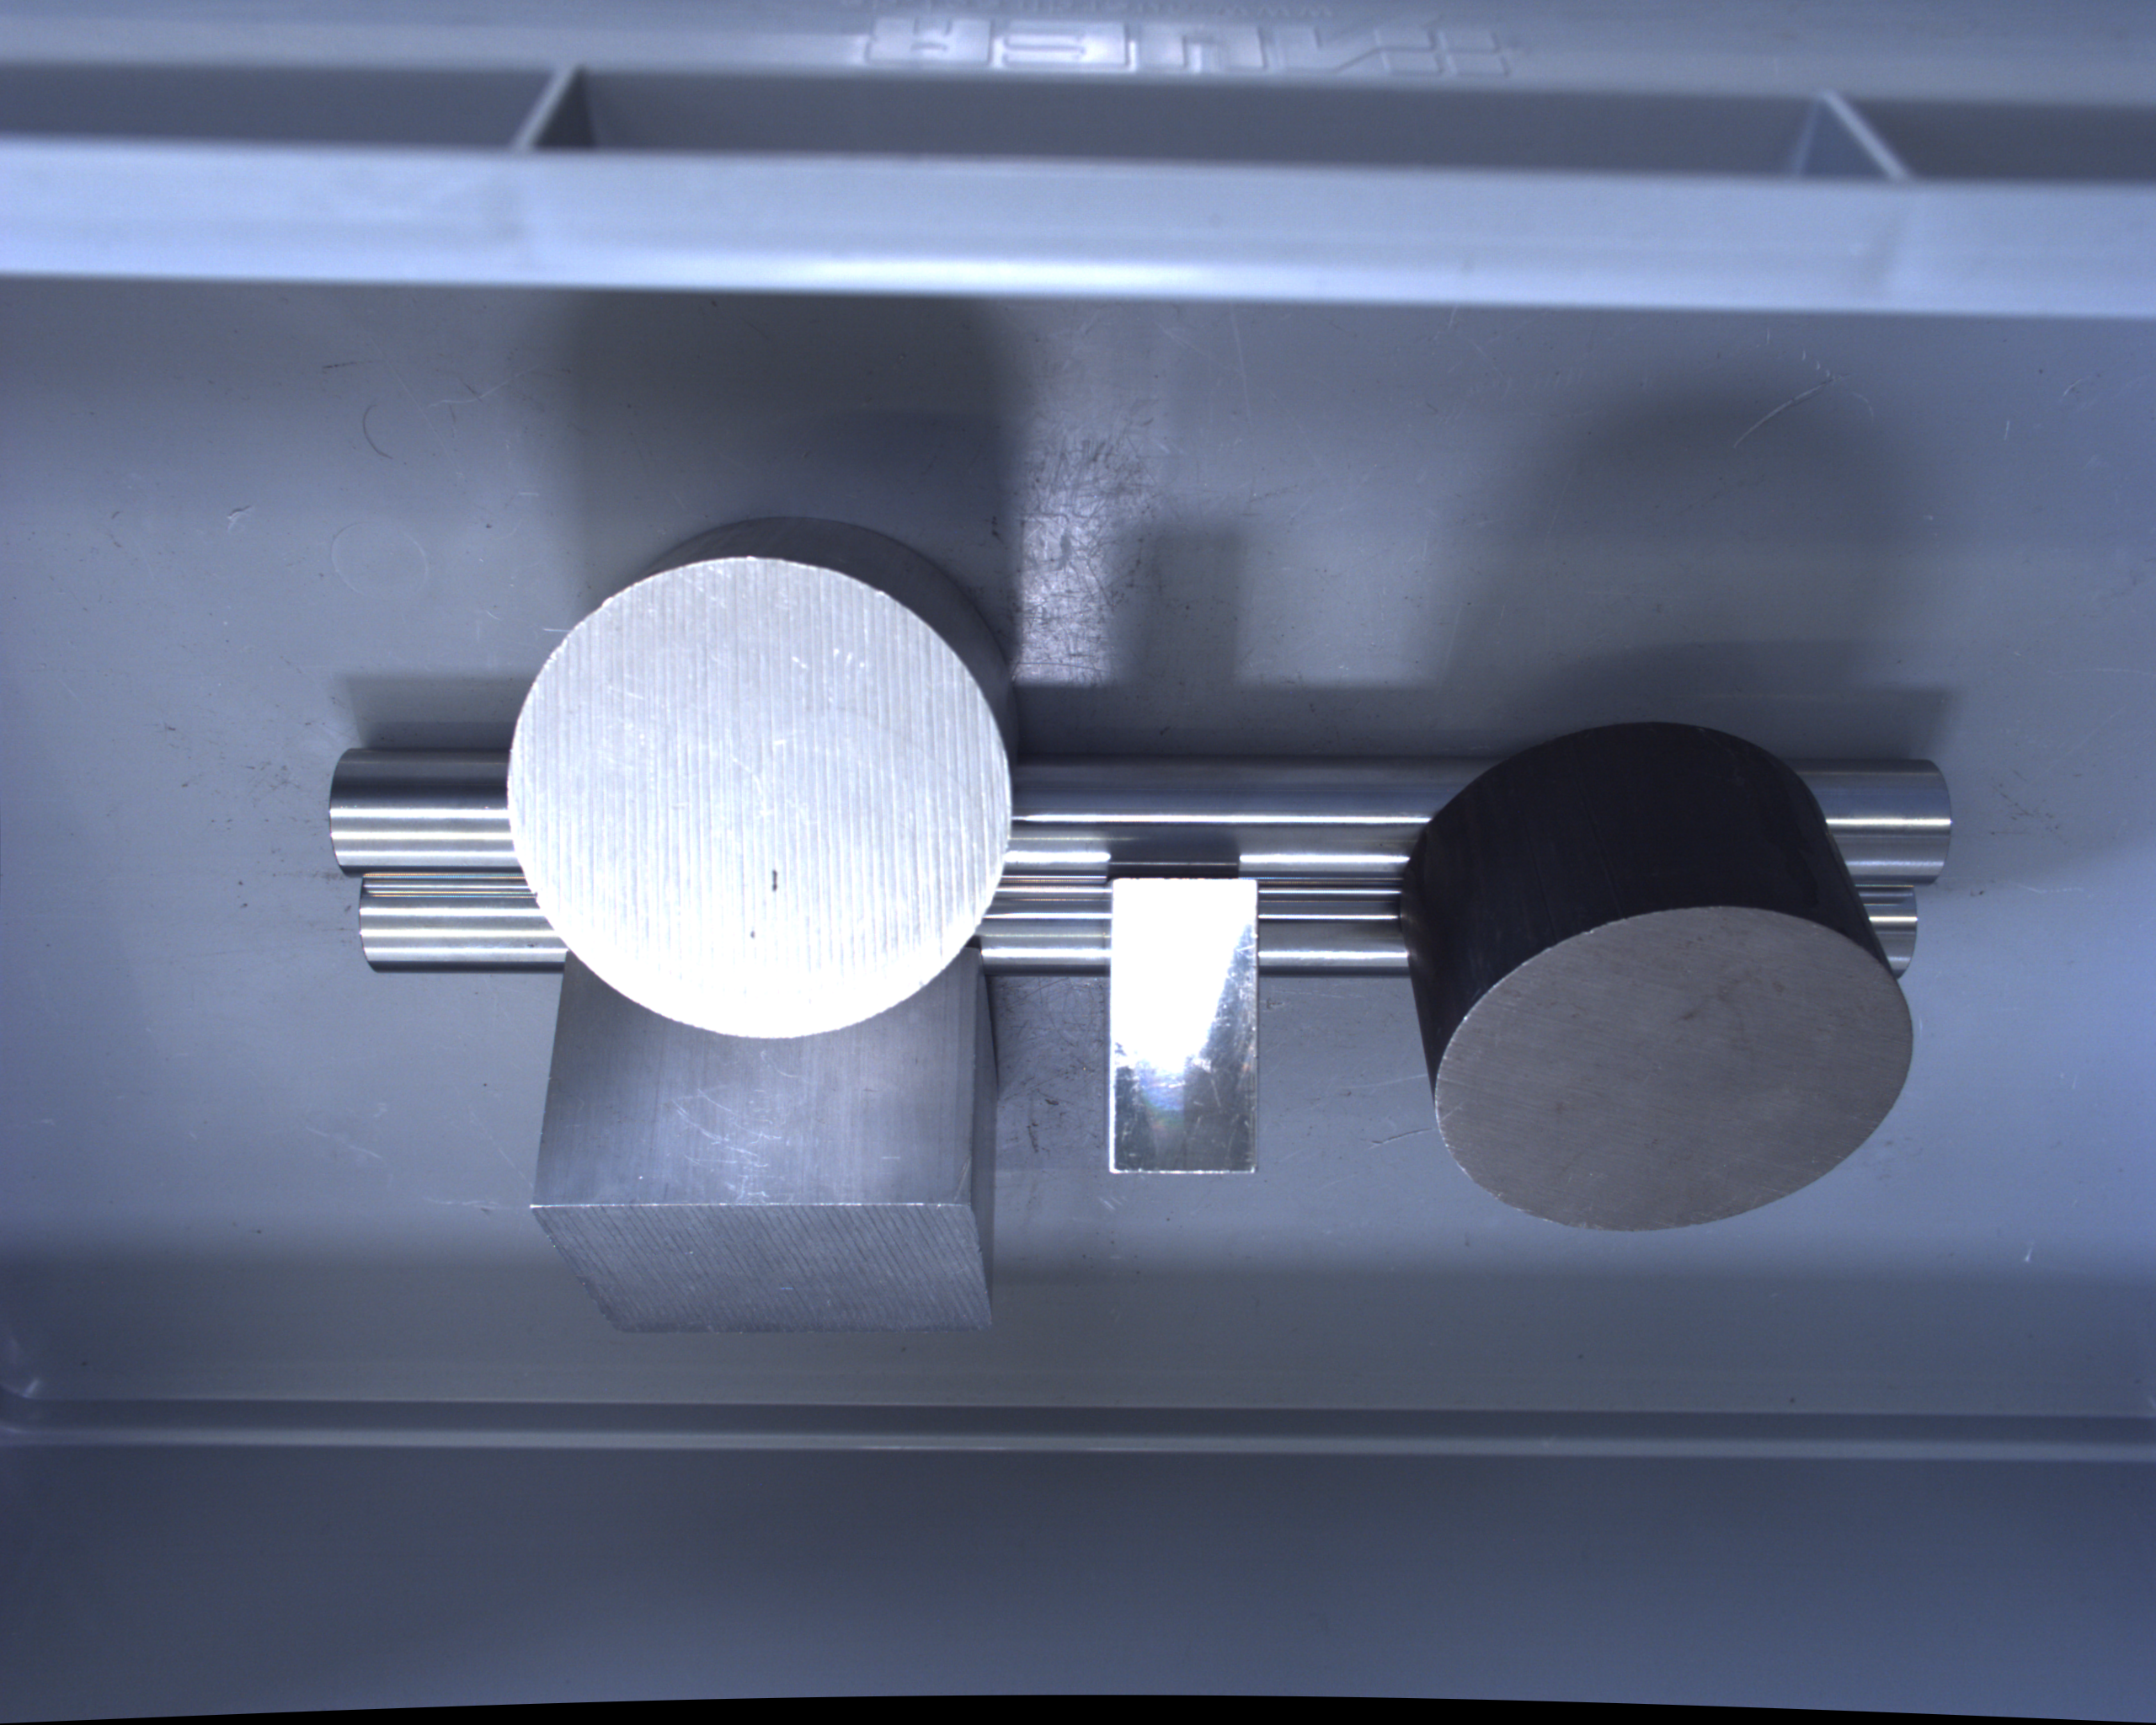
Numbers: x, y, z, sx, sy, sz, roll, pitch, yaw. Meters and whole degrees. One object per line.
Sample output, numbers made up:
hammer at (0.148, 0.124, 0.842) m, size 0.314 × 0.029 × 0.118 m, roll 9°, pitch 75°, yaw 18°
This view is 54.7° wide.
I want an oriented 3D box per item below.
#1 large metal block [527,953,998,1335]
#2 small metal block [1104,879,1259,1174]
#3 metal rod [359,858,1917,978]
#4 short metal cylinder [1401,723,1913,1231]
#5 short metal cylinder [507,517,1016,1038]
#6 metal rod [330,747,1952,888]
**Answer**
large metal block at (-0.059, 0.059, 0.422) m, size 0.081 × 0.050 × 0.080 m, roll -1°, pitch 150°, yaw 0°
small metal block at (0.018, 0.029, 0.378) m, size 0.025 × 0.050 × 0.050 m, roll 0°, pitch 88°, yaw -1°
metal rod at (0.013, 0.010, 0.416) m, size 0.302 × 0.025 × 0.025 m, roll 0°, pitch 130°, yaw -1°
short metal cylinder at (0.102, 0.022, 0.377) m, size 0.081 × 0.050 × 0.079 m, roll 0°, pitch 130°, yaw 0°
short metal cylinder at (-0.051, -0.016, 0.358) m, size 0.081 × 0.050 × 0.079 m, roll 0°, pitch 106°, yaw -1°
metal rod at (0.013, -0.009, 0.400) m, size 0.302 × 0.025 × 0.025 m, roll 0°, pitch 130°, yaw -1°
